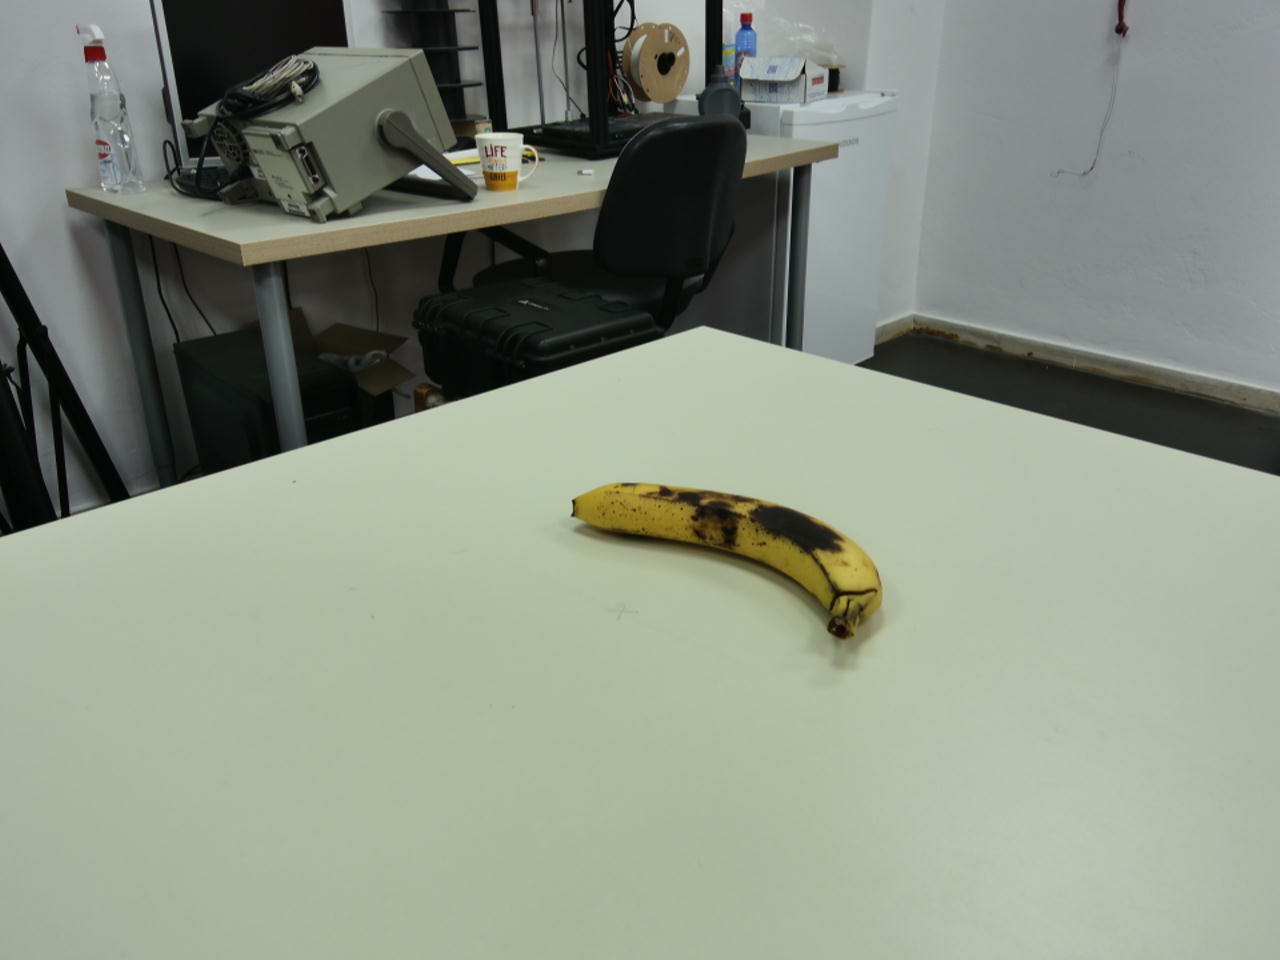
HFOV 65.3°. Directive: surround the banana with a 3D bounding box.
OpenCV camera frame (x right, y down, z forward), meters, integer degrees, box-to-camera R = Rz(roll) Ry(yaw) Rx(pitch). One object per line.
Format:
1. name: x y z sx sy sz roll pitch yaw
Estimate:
1. banana: 0.058 0.036 0.602 0.084 0.037 0.222 -20 31 -38
